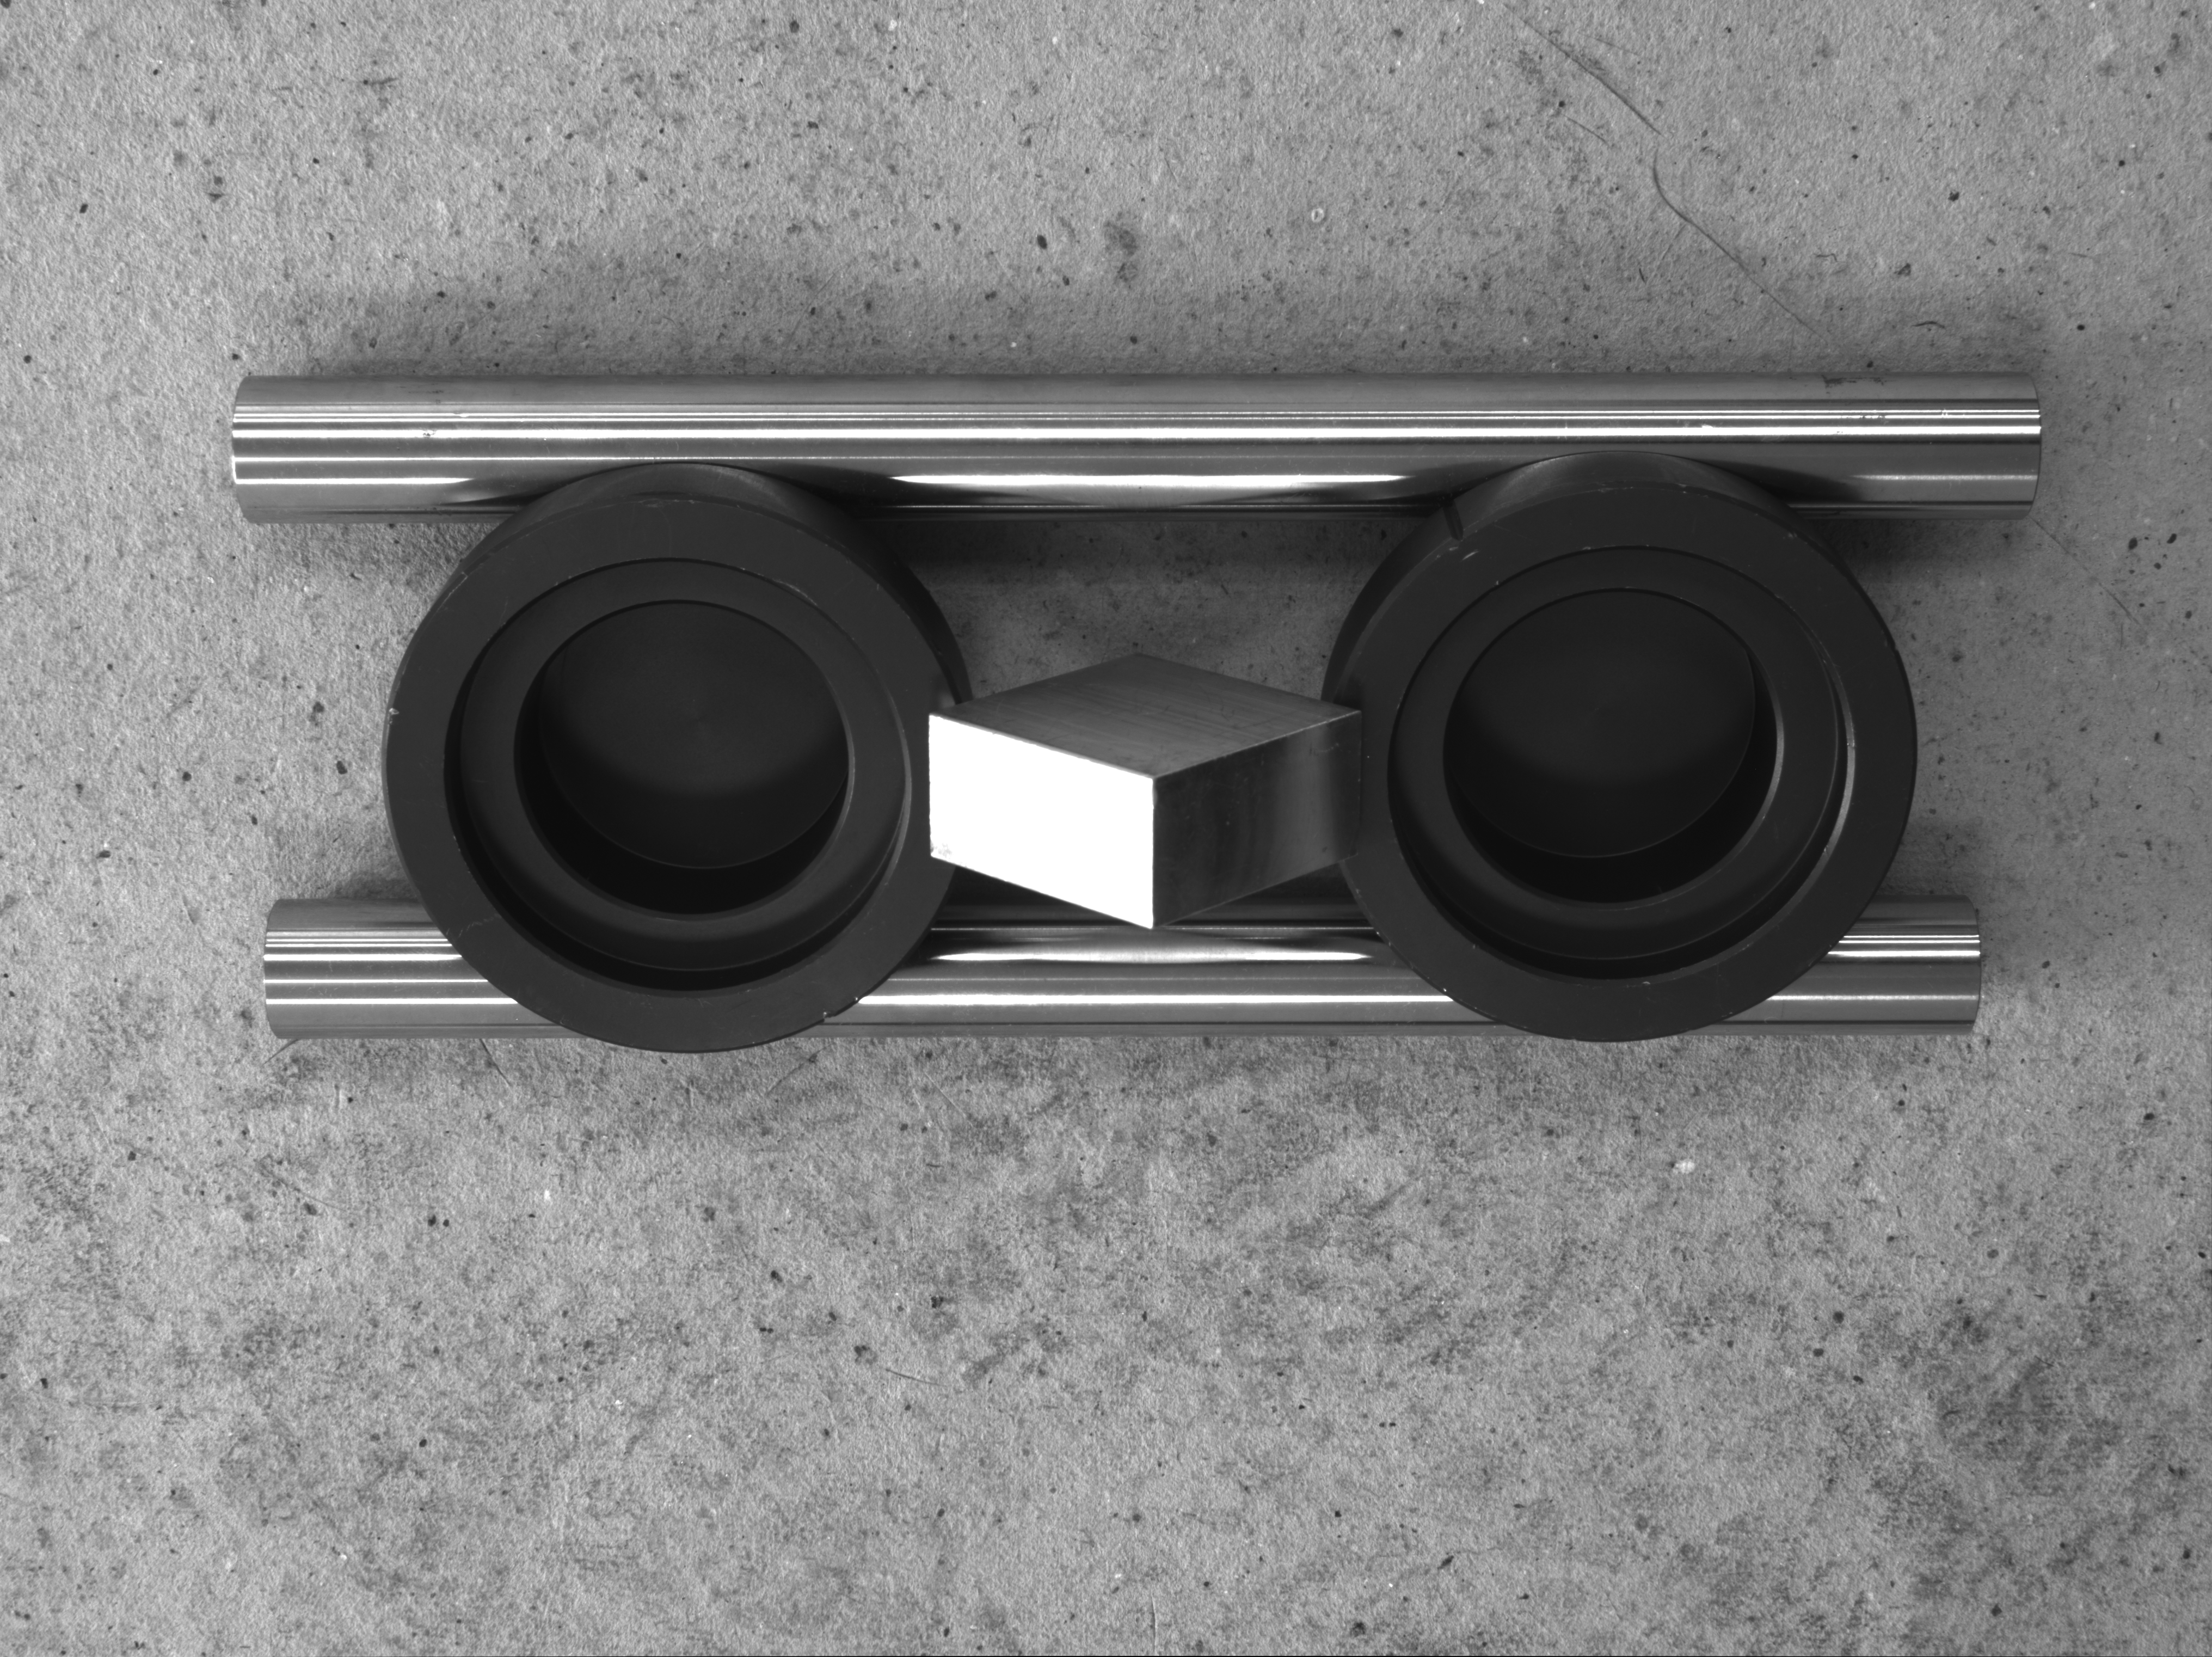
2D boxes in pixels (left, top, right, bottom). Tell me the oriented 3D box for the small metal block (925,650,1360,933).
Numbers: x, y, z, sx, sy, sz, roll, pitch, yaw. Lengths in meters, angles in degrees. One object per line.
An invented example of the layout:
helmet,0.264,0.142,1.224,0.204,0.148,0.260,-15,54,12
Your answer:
small metal block,0.006,-0.007,0.600,0.050,0.050,0.025,17,115,40

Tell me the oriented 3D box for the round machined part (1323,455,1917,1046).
round machined part,0.085,-0.016,0.624,0.098,0.042,0.098,0,110,0

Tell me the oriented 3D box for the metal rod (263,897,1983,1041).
metal rod,0.003,0.025,0.653,0.300,0.025,0.025,0,110,0

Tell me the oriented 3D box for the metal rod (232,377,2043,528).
metal rod,0.005,-0.064,0.621,0.300,0.025,0.025,0,110,0

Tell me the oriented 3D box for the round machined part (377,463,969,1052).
round machined part,-0.071,-0.015,0.625,0.098,0.042,0.098,0,110,0
